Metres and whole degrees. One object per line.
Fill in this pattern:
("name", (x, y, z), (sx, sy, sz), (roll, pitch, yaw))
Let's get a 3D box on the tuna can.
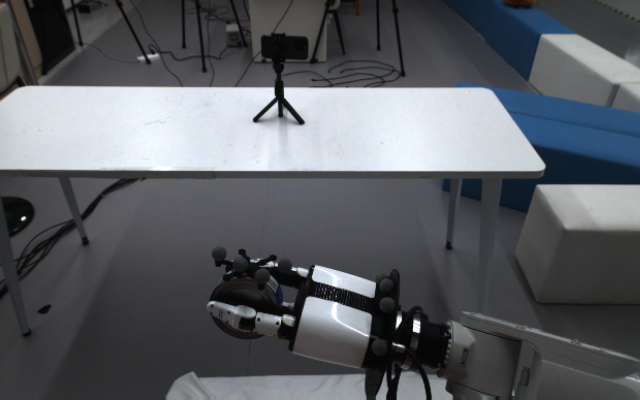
("tuna can", (-0.087, 0.125, 0.592), (0.085, 0.085, 0.034), (5, 18, 5))
